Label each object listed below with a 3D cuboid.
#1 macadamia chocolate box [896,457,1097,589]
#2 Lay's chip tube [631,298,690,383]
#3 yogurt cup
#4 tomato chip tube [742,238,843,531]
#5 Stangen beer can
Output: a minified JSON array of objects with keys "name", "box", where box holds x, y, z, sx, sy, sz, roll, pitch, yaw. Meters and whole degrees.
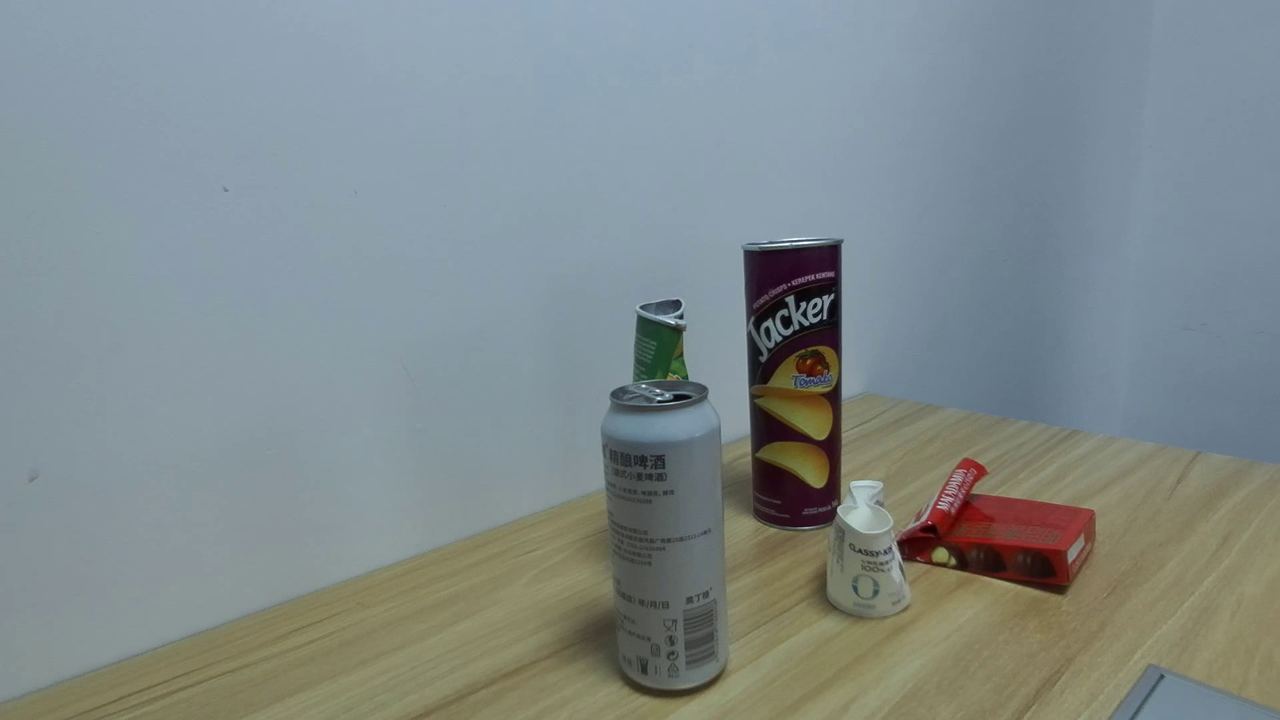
[{"name":"macadamia chocolate box","box":[0.261,0.127,0.530,0.126,0.056,0.112,11,34,42]},{"name":"Lay's chip tube","box":[0.020,0.059,0.517,0.069,0.201,0.077,-10,18,-23]},{"name":"yogurt cup","box":[0.152,0.126,0.469,0.054,0.071,0.075,-5,13,-9]},{"name":"tomato chip tube","box":[0.130,0.019,0.591,0.080,0.234,0.077,-1,11,17]},{"name":"Stangen beer can","box":[0.015,0.100,0.403,0.067,0.171,0.067,-3,12,1]}]
